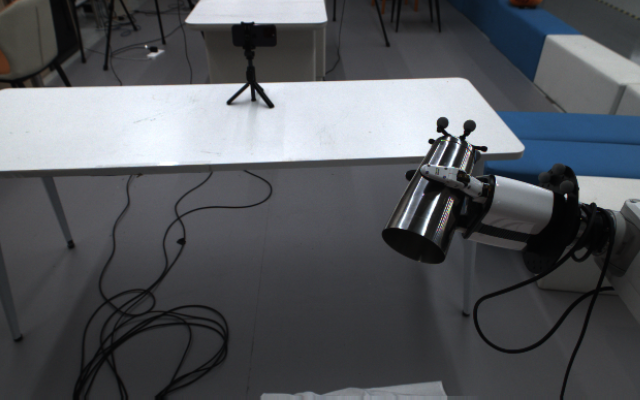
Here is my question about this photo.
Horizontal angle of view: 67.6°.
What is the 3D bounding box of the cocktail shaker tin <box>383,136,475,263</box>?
[{"bbox_3d":[0.166,-0.009,0.686,0.093,0.093,0.170,18,66,21],"label":"cocktail shaker tin"}]
